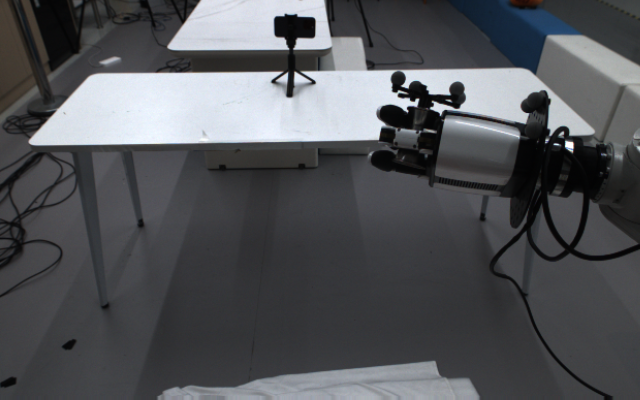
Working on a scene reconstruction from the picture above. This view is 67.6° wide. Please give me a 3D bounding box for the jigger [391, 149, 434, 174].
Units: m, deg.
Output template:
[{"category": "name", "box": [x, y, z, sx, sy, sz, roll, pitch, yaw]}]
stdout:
[{"category": "jigger", "box": [0.119, -0.075, 0.590, 0.043, 0.071, 0.043, 14, 1, 0]}]
